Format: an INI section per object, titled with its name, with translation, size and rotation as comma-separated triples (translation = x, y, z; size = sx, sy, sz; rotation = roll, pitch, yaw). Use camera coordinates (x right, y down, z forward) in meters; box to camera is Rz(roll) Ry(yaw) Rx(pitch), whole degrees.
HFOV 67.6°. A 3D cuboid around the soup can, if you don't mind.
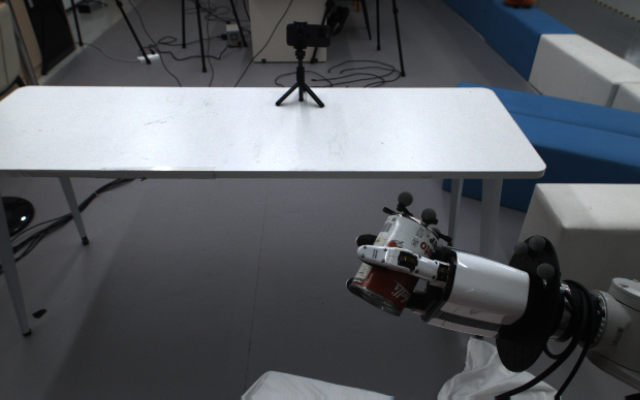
[soup can]
translation = 0.088, 0.074, 0.567
size = 0.067, 0.067, 0.101
rotation = 24, 72, 28
